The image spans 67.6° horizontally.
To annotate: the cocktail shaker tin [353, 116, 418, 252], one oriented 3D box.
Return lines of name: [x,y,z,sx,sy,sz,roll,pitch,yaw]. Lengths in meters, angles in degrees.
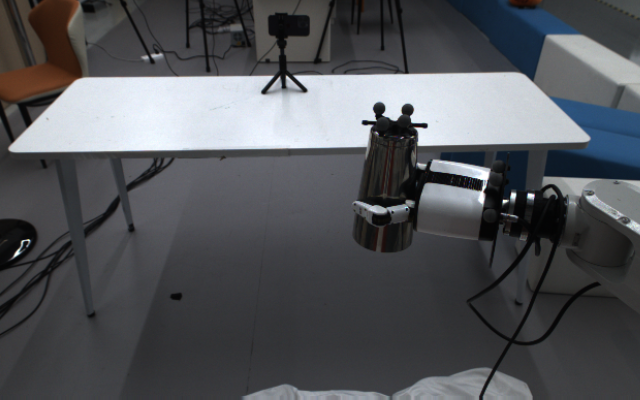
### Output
cocktail shaker tin: [0.100,-0.021,0.699,0.093,0.170,0.093,2,28,-1]
